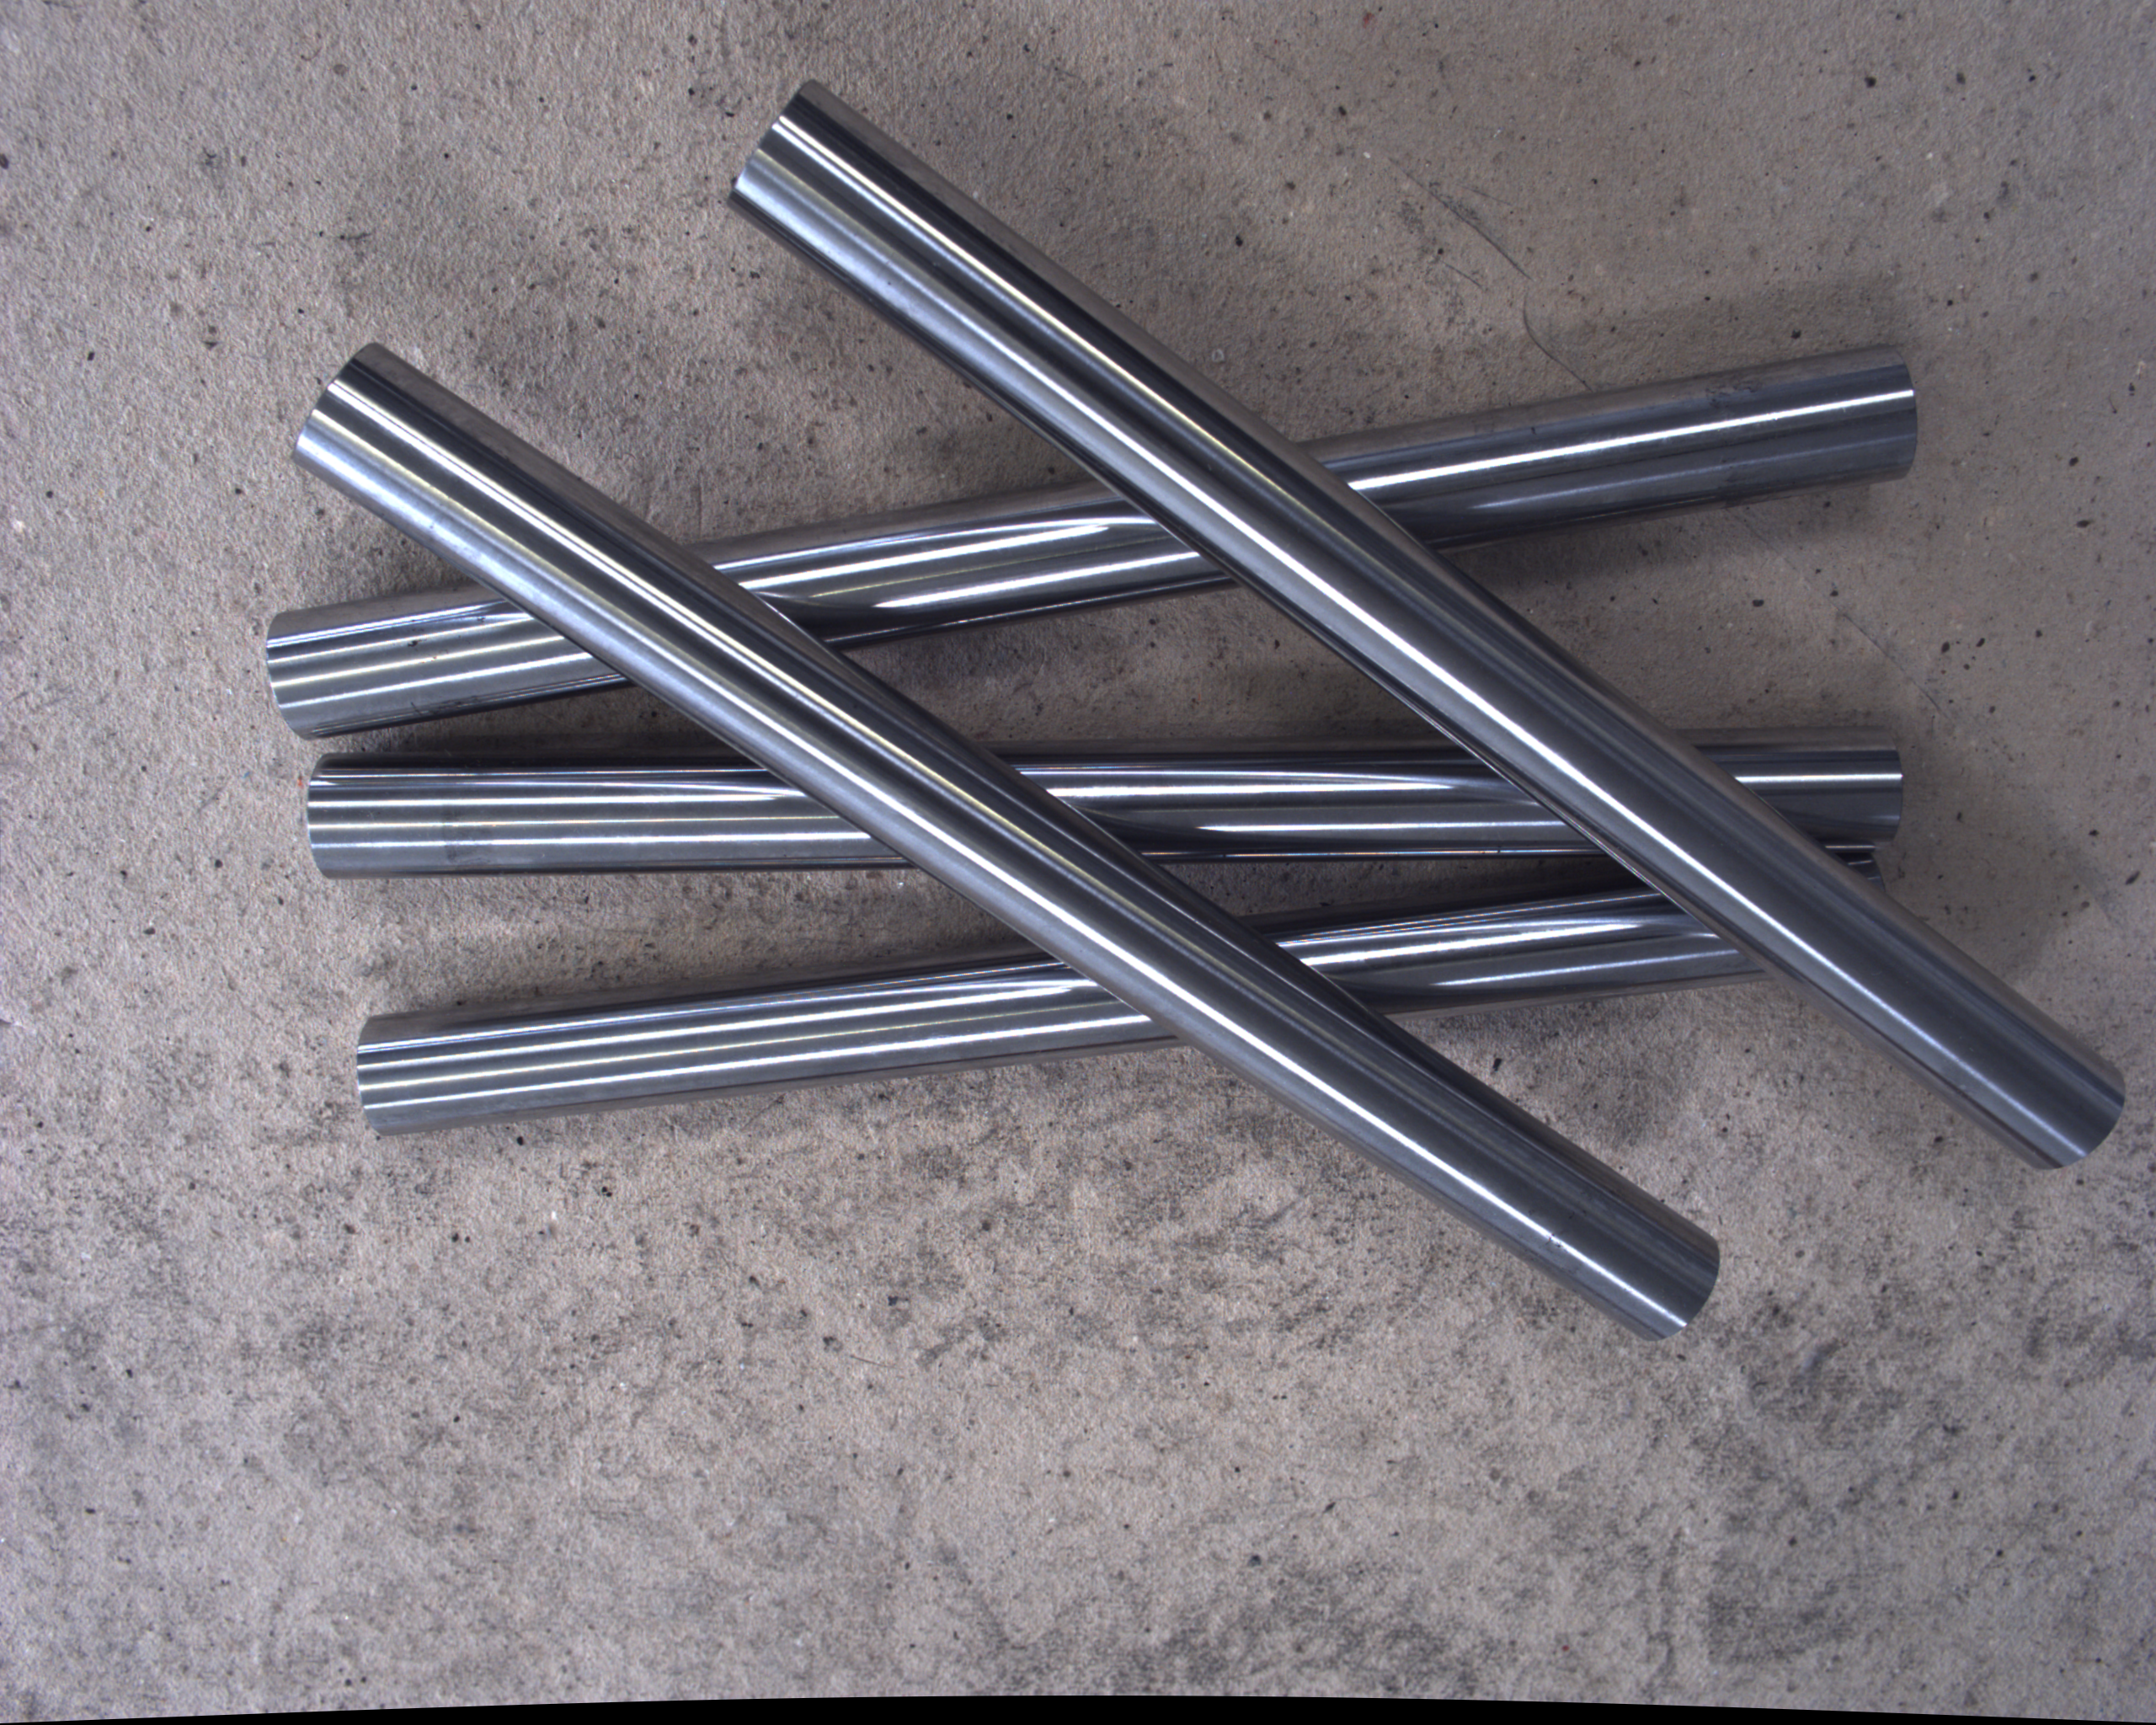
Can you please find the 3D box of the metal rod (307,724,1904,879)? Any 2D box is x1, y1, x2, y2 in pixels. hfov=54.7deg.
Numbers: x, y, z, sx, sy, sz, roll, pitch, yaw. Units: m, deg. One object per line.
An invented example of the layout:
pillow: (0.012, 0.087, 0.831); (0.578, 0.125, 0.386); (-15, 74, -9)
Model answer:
metal rod: (0.005, -0.012, 0.407); (0.302, 0.025, 0.025); (-1, 110, 0)

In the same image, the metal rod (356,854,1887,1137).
metal rod: (0.007, 0.026, 0.420); (0.302, 0.025, 0.025); (-7, 110, 2)

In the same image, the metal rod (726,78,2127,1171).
metal rod: (0.071, -0.034, 0.372); (0.301, 0.025, 0.025); (34, 106, -12)

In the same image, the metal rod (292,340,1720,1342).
metal rod: (-0.003, 0.003, 0.385); (0.301, 0.025, 0.025); (34, 107, -12)

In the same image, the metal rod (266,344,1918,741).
metal rod: (0.000, -0.059, 0.389); (0.302, 0.025, 0.025); (-9, 110, 3)
